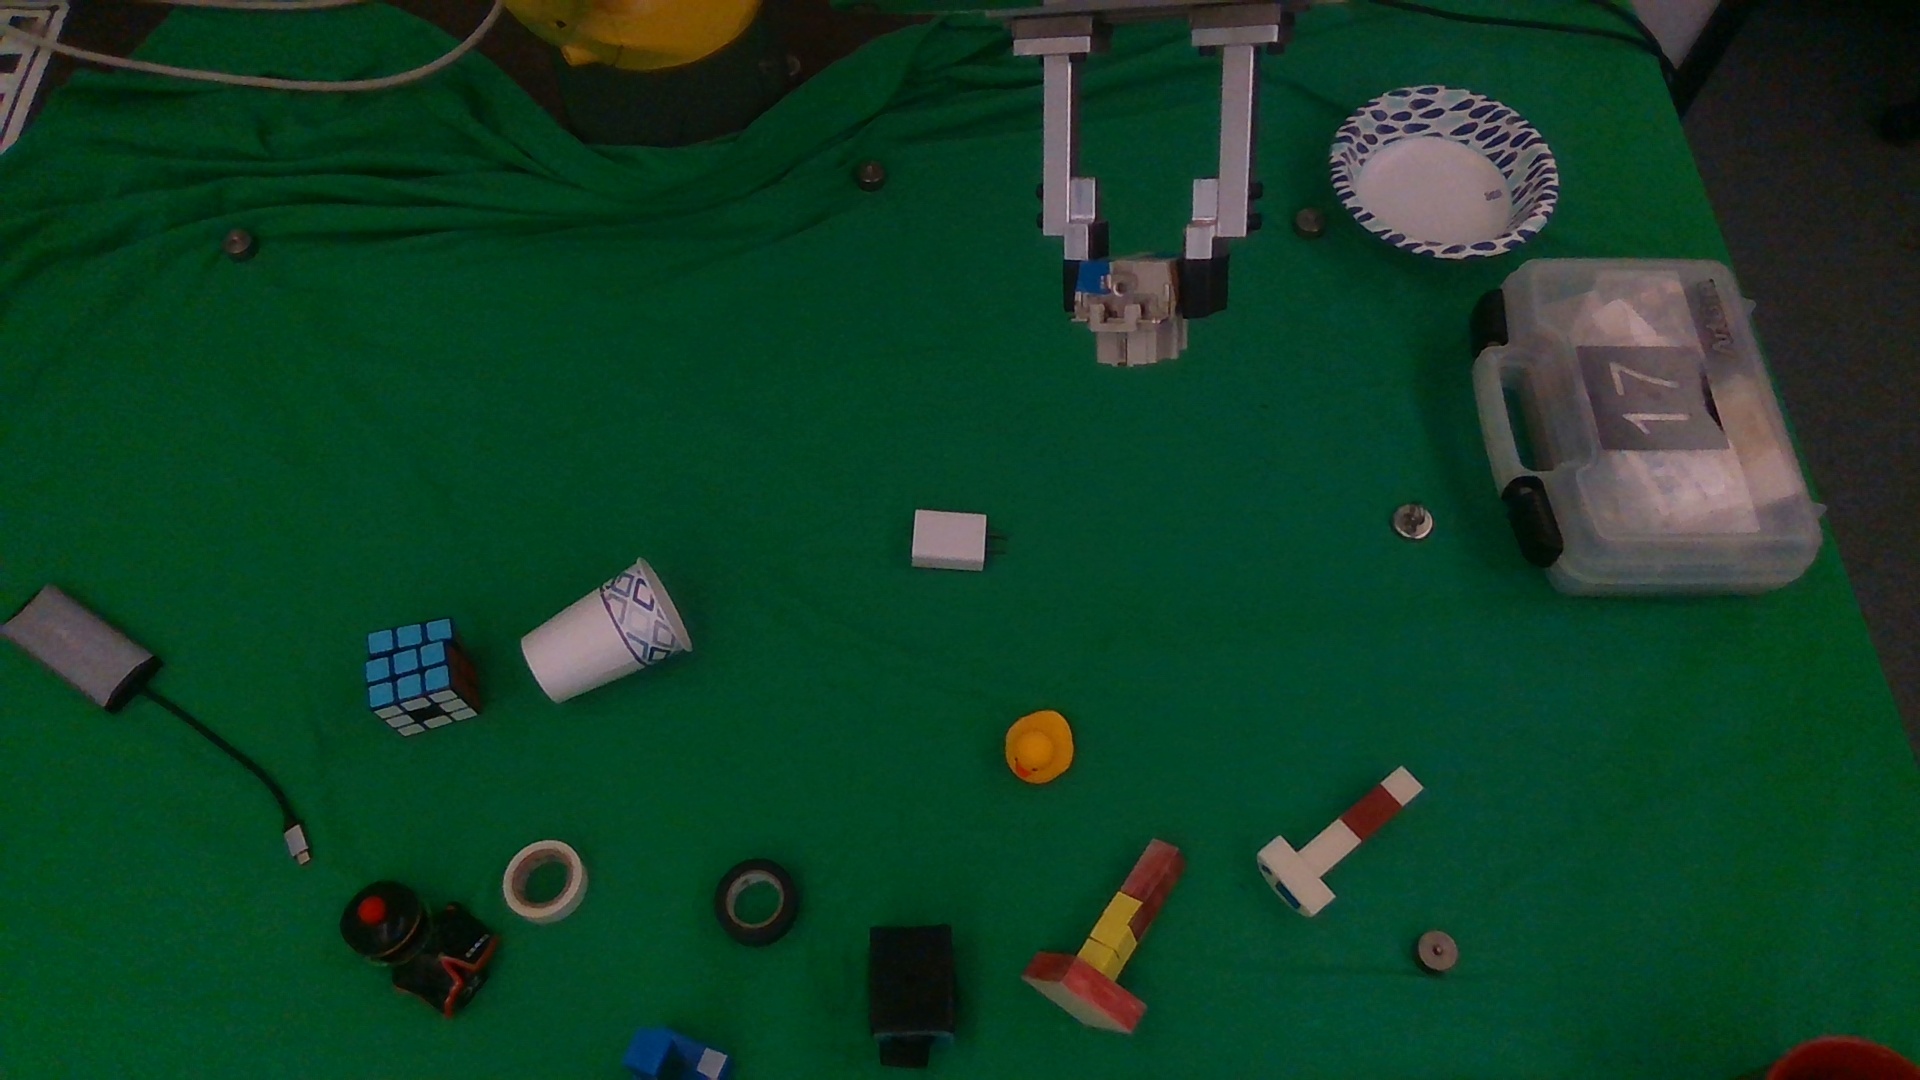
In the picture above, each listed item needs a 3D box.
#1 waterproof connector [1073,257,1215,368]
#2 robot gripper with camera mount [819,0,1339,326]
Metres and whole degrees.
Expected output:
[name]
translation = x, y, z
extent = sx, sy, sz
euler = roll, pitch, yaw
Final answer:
[waterproof connector]
translation = 0.066, -0.081, 0.492
extent = 0.035, 0.065, 0.037
euler = 2, 102, 25
[robot gripper with camera mount]
translation = 0.031, -0.134, 0.400
extent = 0.119, 0.158, 0.193
euler = 7, 17, 25
